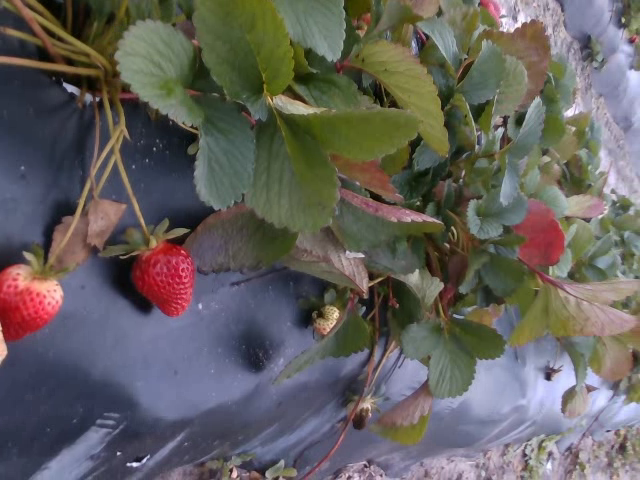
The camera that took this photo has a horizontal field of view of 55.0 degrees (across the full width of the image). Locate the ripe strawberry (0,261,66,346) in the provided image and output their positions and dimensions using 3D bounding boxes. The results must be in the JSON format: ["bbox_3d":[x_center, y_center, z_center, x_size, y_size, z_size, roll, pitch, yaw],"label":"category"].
[{"bbox_3d":[-0.139,0.033,0.290,0.036,0.041,0.027,28,3,-45],"label":"ripe strawberry"}]

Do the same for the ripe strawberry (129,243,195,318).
[{"bbox_3d":[-0.088,0.023,0.351,0.044,0.059,0.042,-14,30,-15],"label":"ripe strawberry"}]
